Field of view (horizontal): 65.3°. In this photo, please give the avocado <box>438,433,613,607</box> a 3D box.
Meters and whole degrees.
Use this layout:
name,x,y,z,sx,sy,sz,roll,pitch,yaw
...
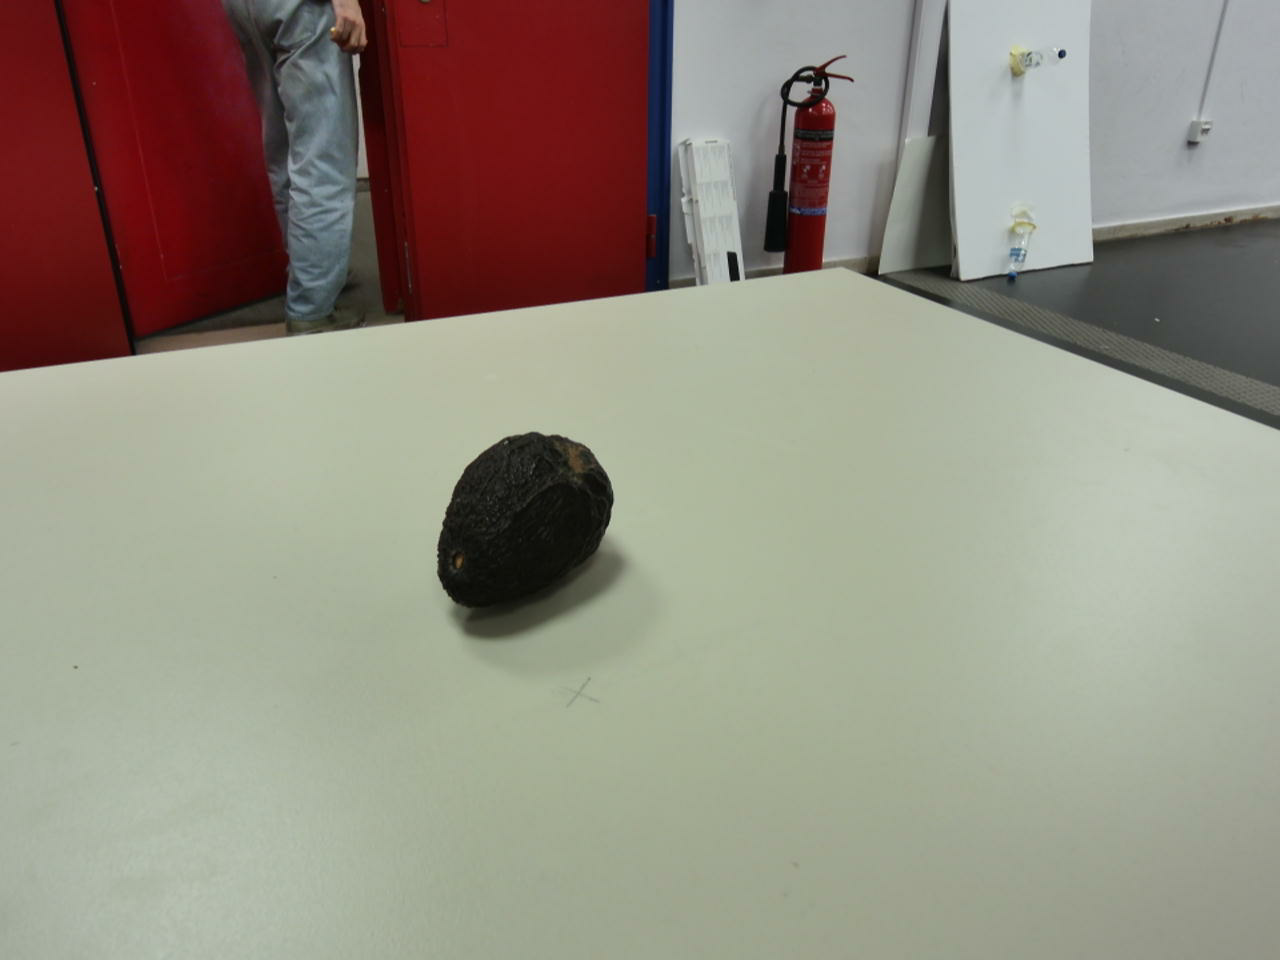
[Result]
name,x,y,z,sx,sy,sz,roll,pitch,yaw
avocado,-0.050,0.015,0.416,0.062,0.062,0.092,19,31,36
